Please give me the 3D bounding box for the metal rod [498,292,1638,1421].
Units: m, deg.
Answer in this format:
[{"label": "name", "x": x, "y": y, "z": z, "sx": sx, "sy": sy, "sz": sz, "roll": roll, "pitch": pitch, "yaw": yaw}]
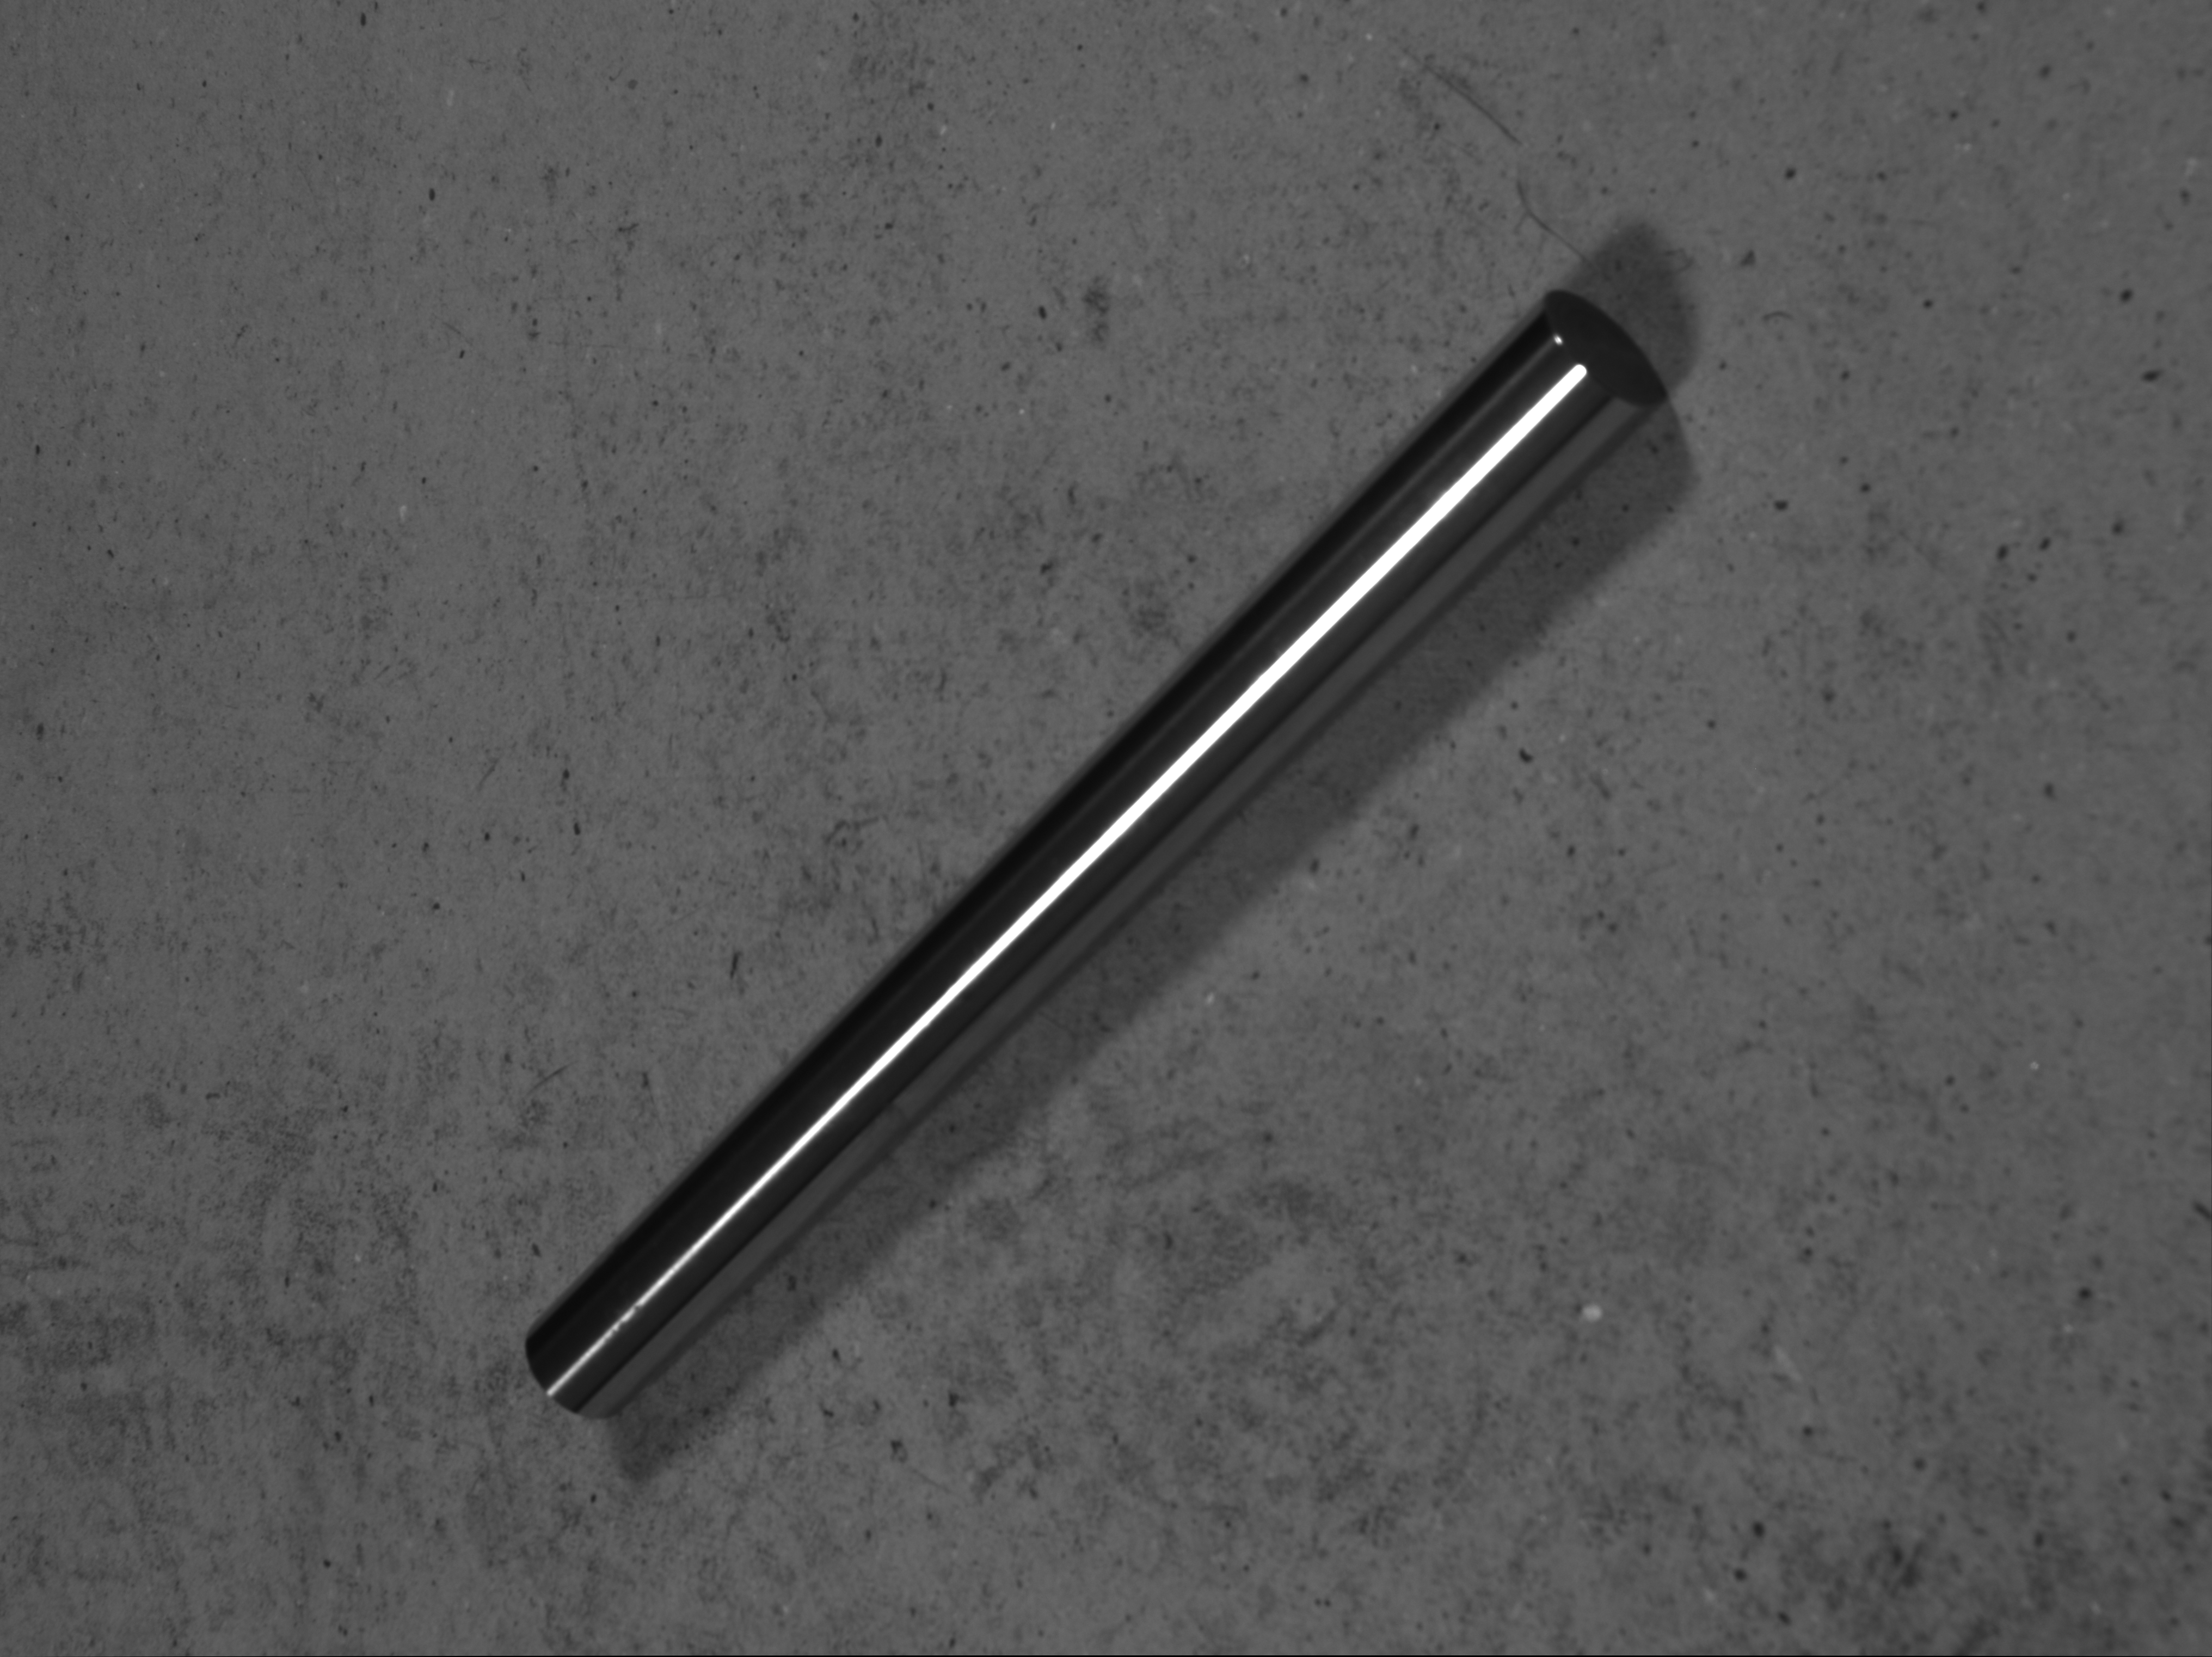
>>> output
[{"label": "metal rod", "x": -0.018, "y": 0.016, "z": 0.651, "sx": 0.300, "sy": 0.025, "sz": 0.025, "roll": -45, "pitch": 63, "yaw": 30}]
